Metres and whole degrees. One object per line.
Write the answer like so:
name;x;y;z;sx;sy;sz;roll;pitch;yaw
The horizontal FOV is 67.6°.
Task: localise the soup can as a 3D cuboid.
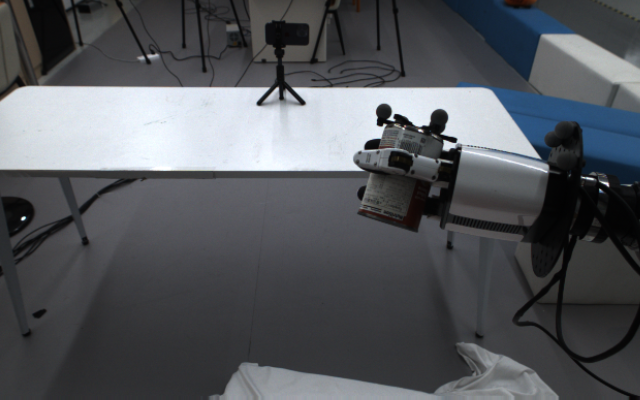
soup can;0.089;-0.024;0.525;0.067;0.101;0.067;17;-1;0
